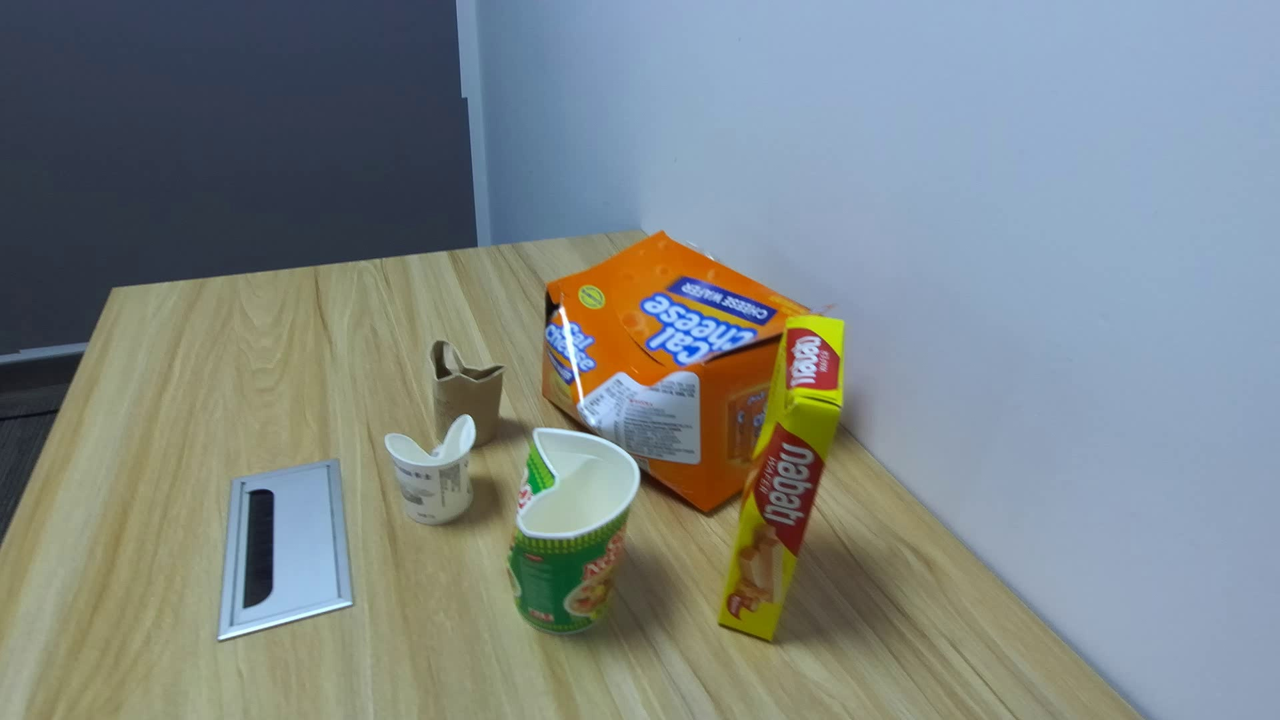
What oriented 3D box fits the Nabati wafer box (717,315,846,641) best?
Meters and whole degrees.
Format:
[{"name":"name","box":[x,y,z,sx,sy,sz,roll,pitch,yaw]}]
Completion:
[{"name":"Nabati wafer box","box":[0.089,0.078,0.452,0.042,0.203,0.096,13,36,12]}]

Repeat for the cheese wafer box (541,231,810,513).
[{"name":"cheese wafer box","box":[0.026,0.001,0.620,0.192,0.145,0.218,-25,43,-37]}]

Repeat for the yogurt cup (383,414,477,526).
[{"name":"yogurt cup","box":[-0.157,0.086,0.544,0.067,0.070,0.067,4,32,-2]}]

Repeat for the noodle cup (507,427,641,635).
[{"name":"noodle cup","box":[-0.048,0.119,0.464,0.086,0.109,0.094,14,35,16]}]

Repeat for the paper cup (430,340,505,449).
[{"name":"paper cup","box":[-0.152,0.030,0.620,0.058,0.083,0.066,-8,34,-21]}]
